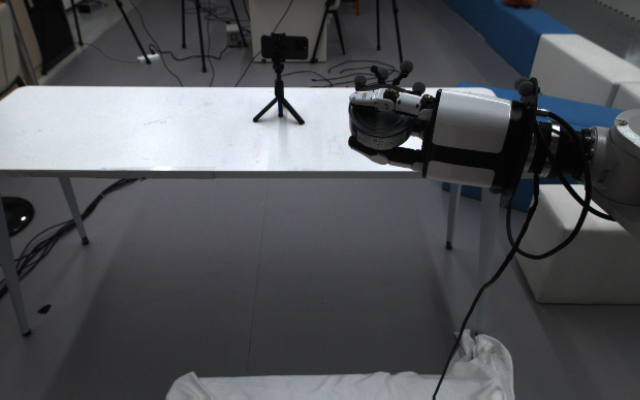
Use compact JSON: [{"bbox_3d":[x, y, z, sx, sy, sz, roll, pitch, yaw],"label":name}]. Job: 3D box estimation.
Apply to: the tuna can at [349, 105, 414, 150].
[{"bbox_3d":[0.080,-0.112,0.624,0.085,0.034,0.085,-2,56,3],"label":"tuna can"}]
